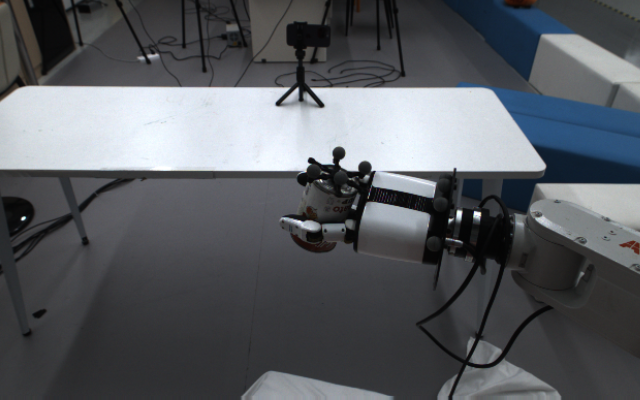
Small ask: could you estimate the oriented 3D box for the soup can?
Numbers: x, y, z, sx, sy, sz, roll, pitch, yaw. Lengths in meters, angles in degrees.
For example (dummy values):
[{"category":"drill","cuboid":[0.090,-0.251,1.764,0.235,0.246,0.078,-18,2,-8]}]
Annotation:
[{"category":"soup can","cuboid":[0.007,0.012,0.646,0.067,0.101,0.067,14,35,-10]}]
